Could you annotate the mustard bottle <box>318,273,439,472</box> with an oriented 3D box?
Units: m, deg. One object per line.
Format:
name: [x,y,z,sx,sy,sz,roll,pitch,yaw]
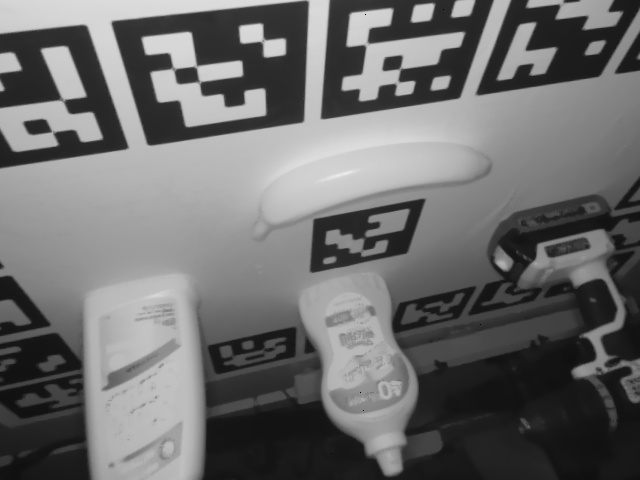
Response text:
mustard bottle: [0.062,0.128,0.673,0.096,0.192,0.058,-15,146,2]

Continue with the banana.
banana: [0.040,-0.045,0.536,0.198,0.039,0.074,-18,144,-4]

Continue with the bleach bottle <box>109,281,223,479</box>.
bleach bottle: [-0.120,0.158,0.580,0.103,0.251,0.067,-7,145,-12]

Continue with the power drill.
power drill: [0.251,0.086,0.639,0.185,0.187,0.057,-18,146,-4]
